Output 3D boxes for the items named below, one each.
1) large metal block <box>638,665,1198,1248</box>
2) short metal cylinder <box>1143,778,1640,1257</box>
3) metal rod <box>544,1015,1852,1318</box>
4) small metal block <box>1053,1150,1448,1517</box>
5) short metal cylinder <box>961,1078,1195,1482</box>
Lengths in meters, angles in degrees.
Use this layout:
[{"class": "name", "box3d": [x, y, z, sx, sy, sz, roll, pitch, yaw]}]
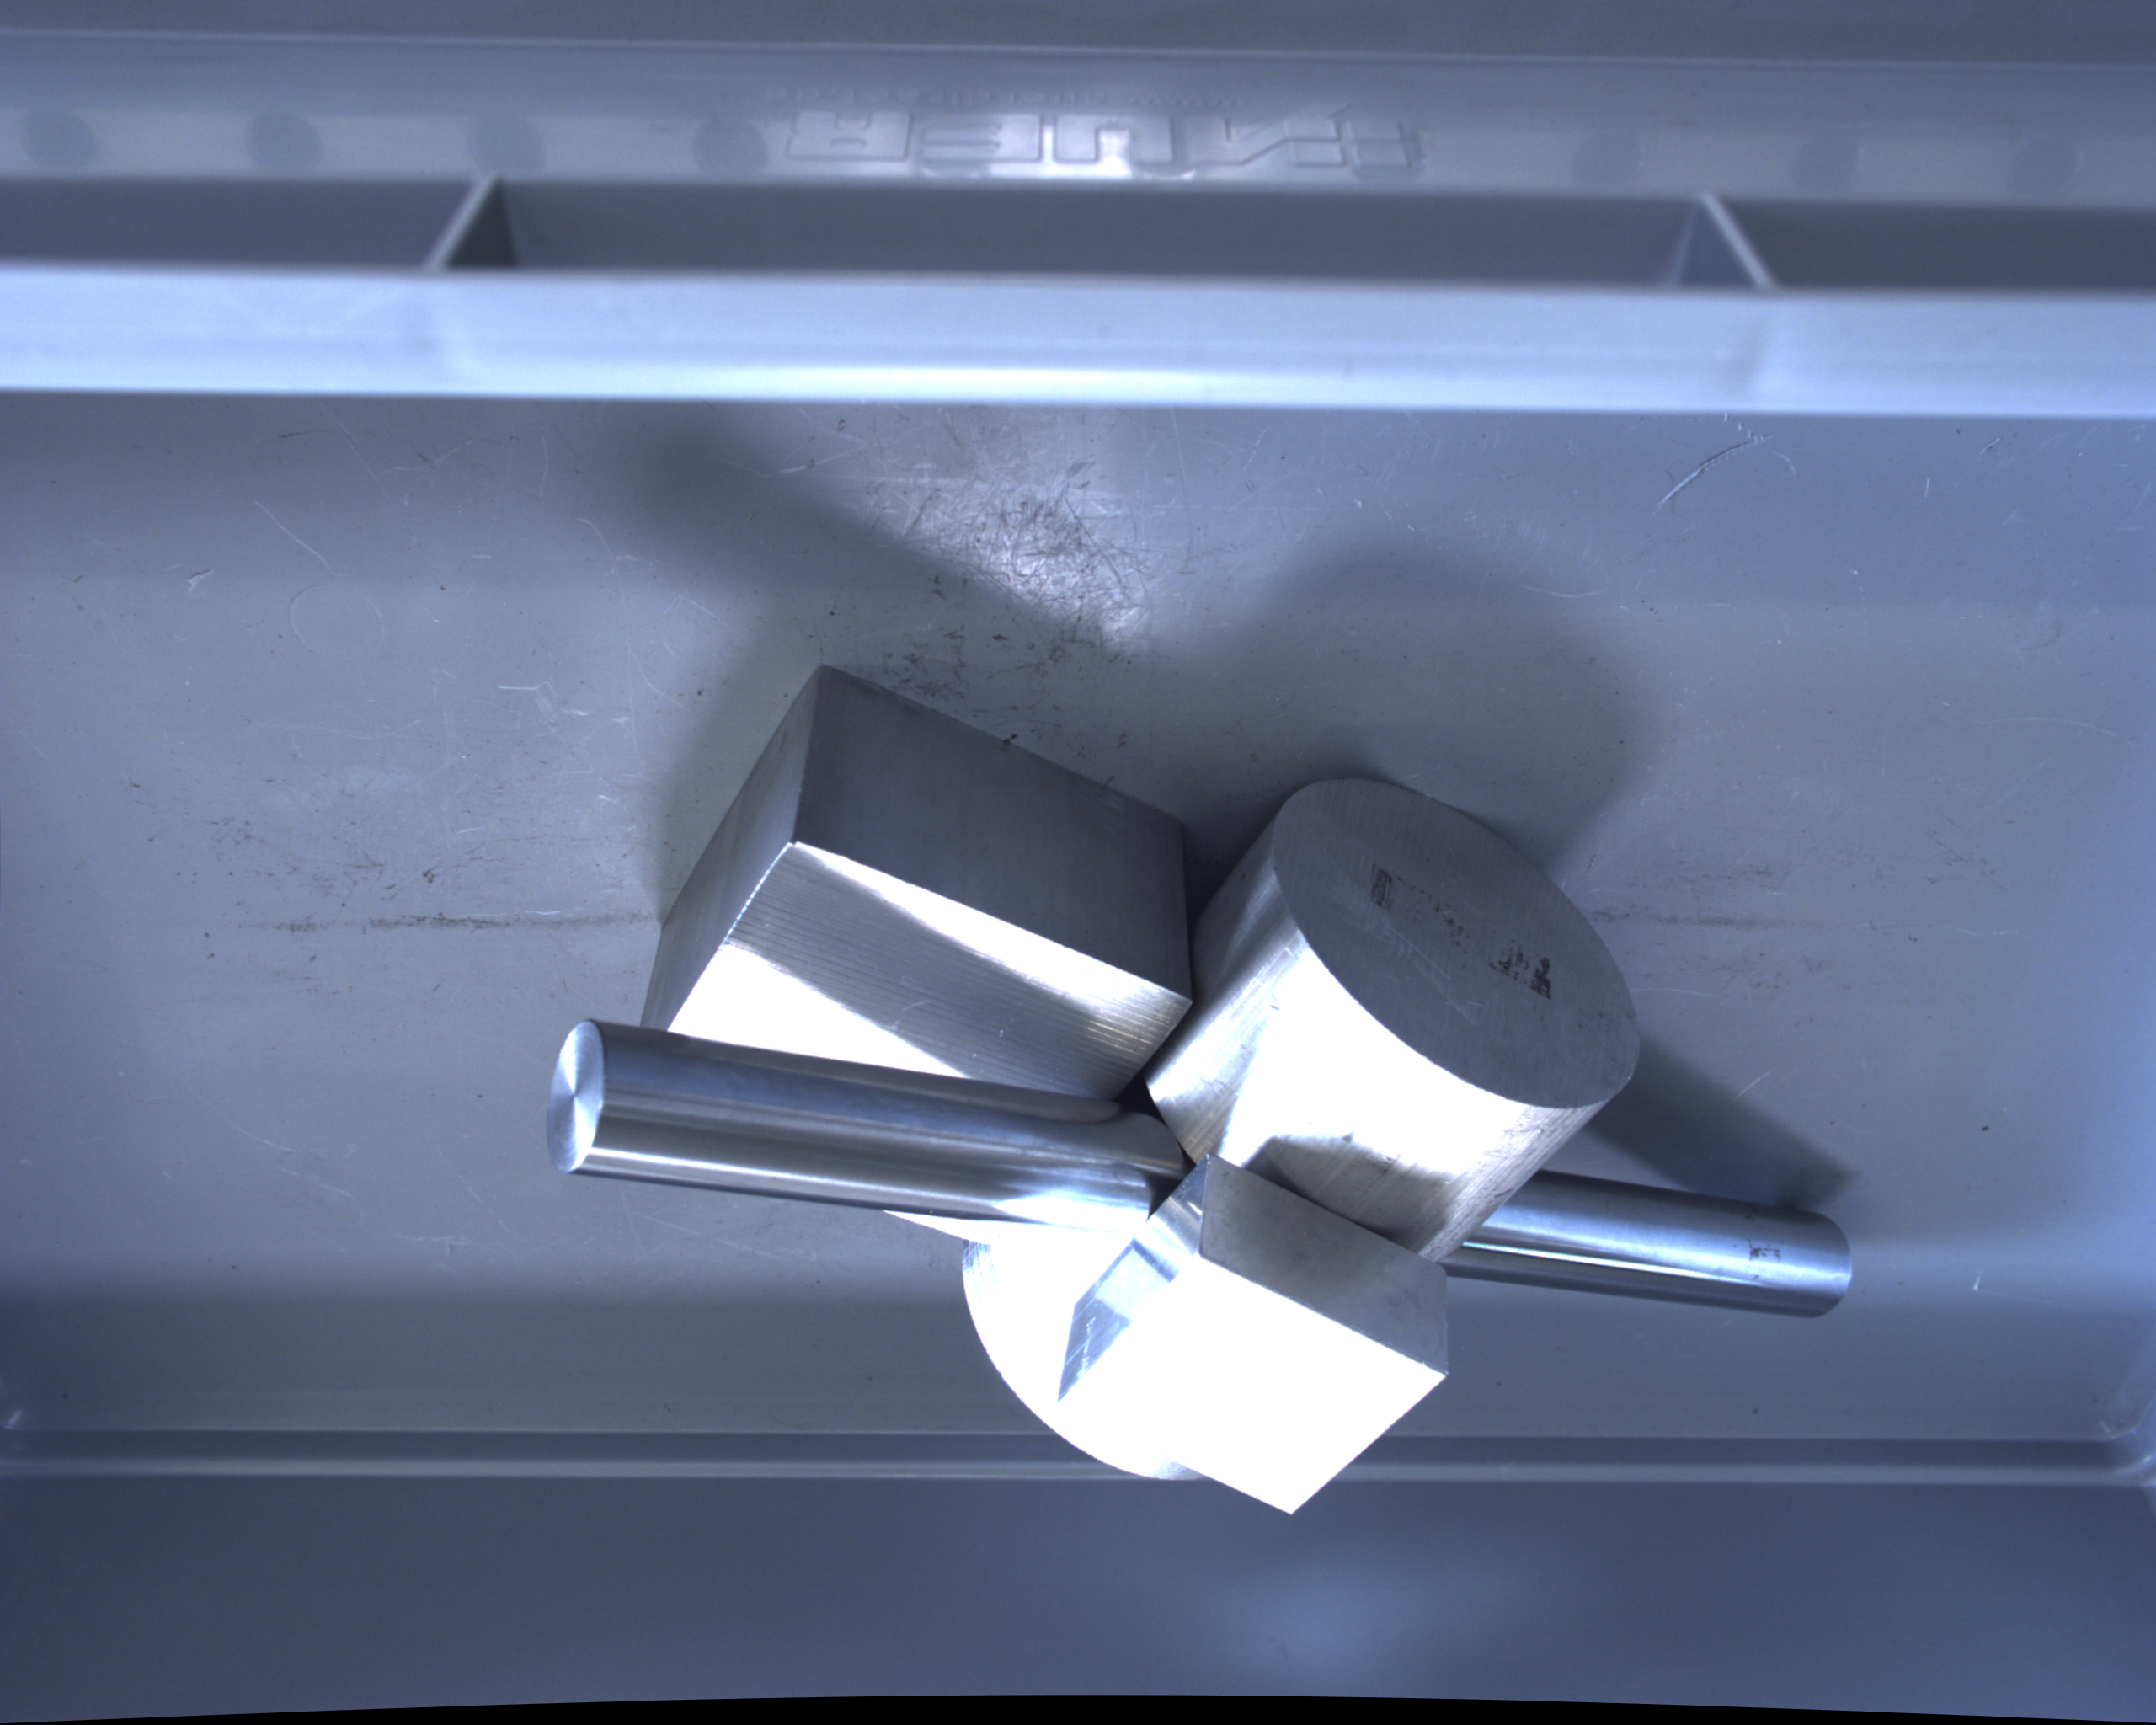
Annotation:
[{"class": "large metal block", "box3d": [-0.033, 0.021, 0.405, 0.080, 0.050, 0.080, 23, 126, -19]}, {"class": "short metal cylinder", "box3d": [0.058, 0.030, 0.397, 0.080, 0.080, 0.050, 22, 127, -18]}, {"class": "metal rod", "box3d": [0.045, 0.066, 0.412, 0.302, 0.025, 0.025, 13, 131, -31]}, {"class": "small metal block", "box3d": [0.031, 0.086, 0.377, 0.050, 0.025, 0.050, 28, 125, -12]}, {"class": "short metal cylinder", "box3d": [0.023, 0.082, 0.441, 0.080, 0.080, 0.050, 24, 126, -19]}]
